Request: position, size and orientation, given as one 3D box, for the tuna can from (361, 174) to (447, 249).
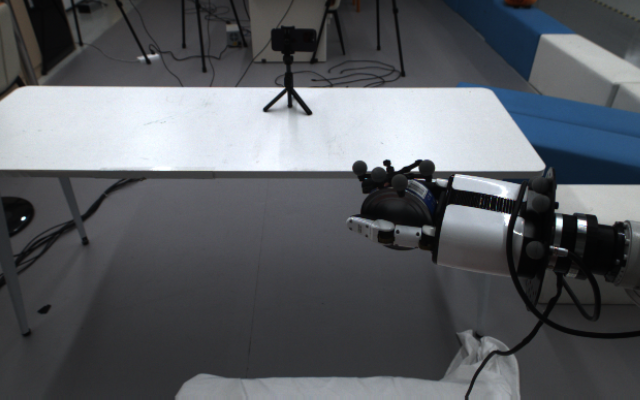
[{"bbox_3d":[0.096,0.013,0.572,0.085,0.085,0.034,17,37,20],"label":"tuna can"}]
